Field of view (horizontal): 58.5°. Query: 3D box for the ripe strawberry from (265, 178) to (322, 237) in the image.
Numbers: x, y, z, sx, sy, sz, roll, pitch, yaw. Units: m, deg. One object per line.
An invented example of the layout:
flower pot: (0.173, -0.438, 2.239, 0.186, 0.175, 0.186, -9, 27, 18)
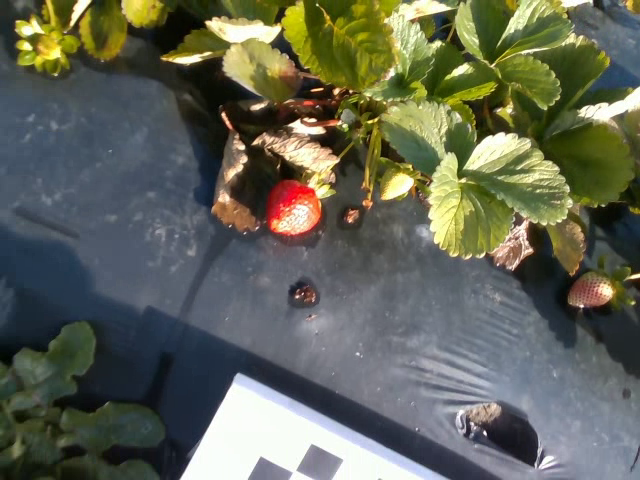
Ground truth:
ripe strawberry: (-0.022, -0.012, 0.338, 0.054, 0.047, 0.037, -46, 8, -35)
